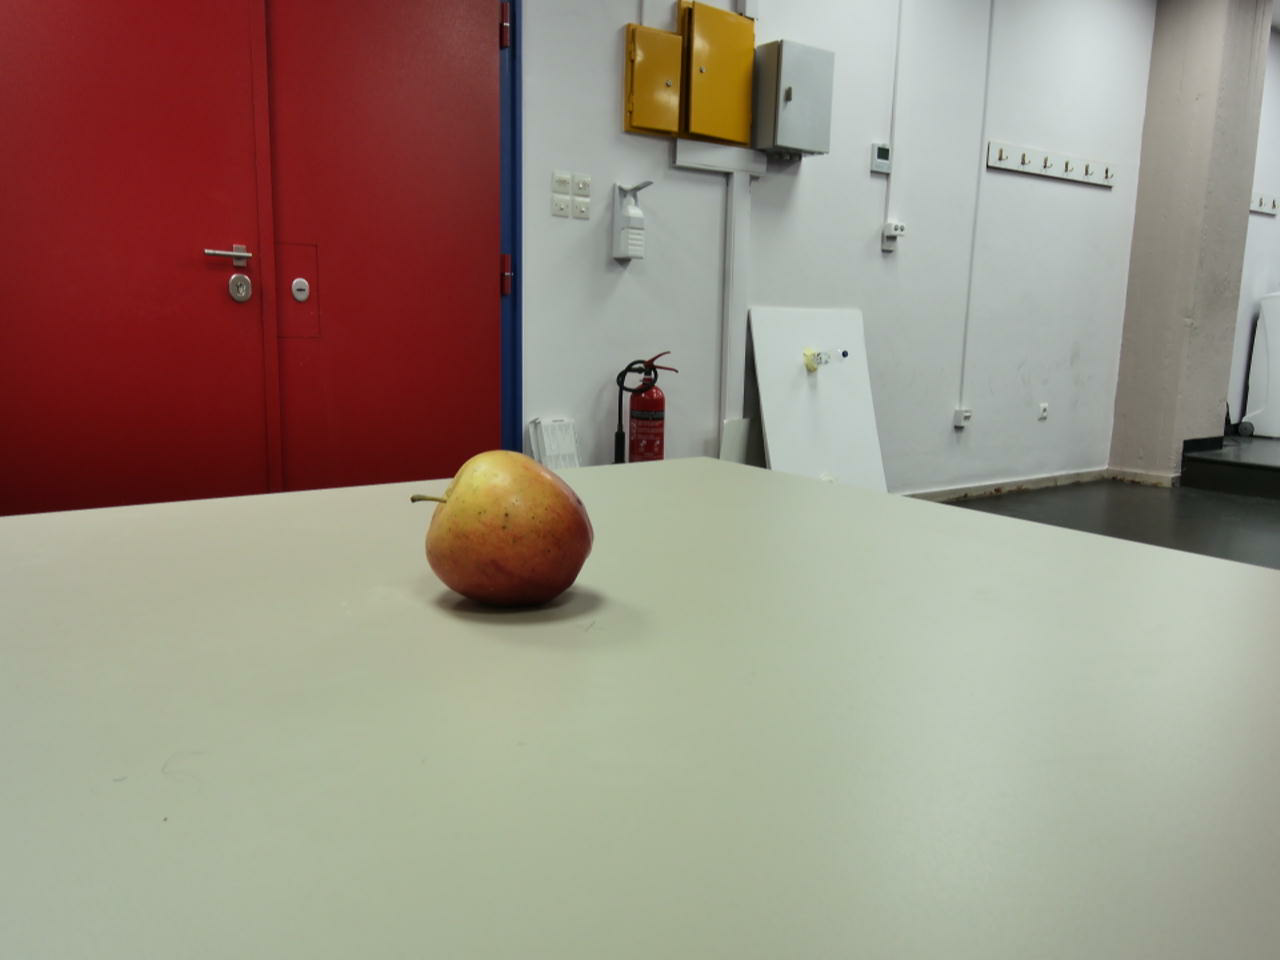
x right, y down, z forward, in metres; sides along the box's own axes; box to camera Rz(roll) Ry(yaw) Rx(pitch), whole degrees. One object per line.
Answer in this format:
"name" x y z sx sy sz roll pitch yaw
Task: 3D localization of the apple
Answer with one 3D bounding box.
"apple" -0.074 0.026 0.555 0.093 0.084 0.086 4 8 18
